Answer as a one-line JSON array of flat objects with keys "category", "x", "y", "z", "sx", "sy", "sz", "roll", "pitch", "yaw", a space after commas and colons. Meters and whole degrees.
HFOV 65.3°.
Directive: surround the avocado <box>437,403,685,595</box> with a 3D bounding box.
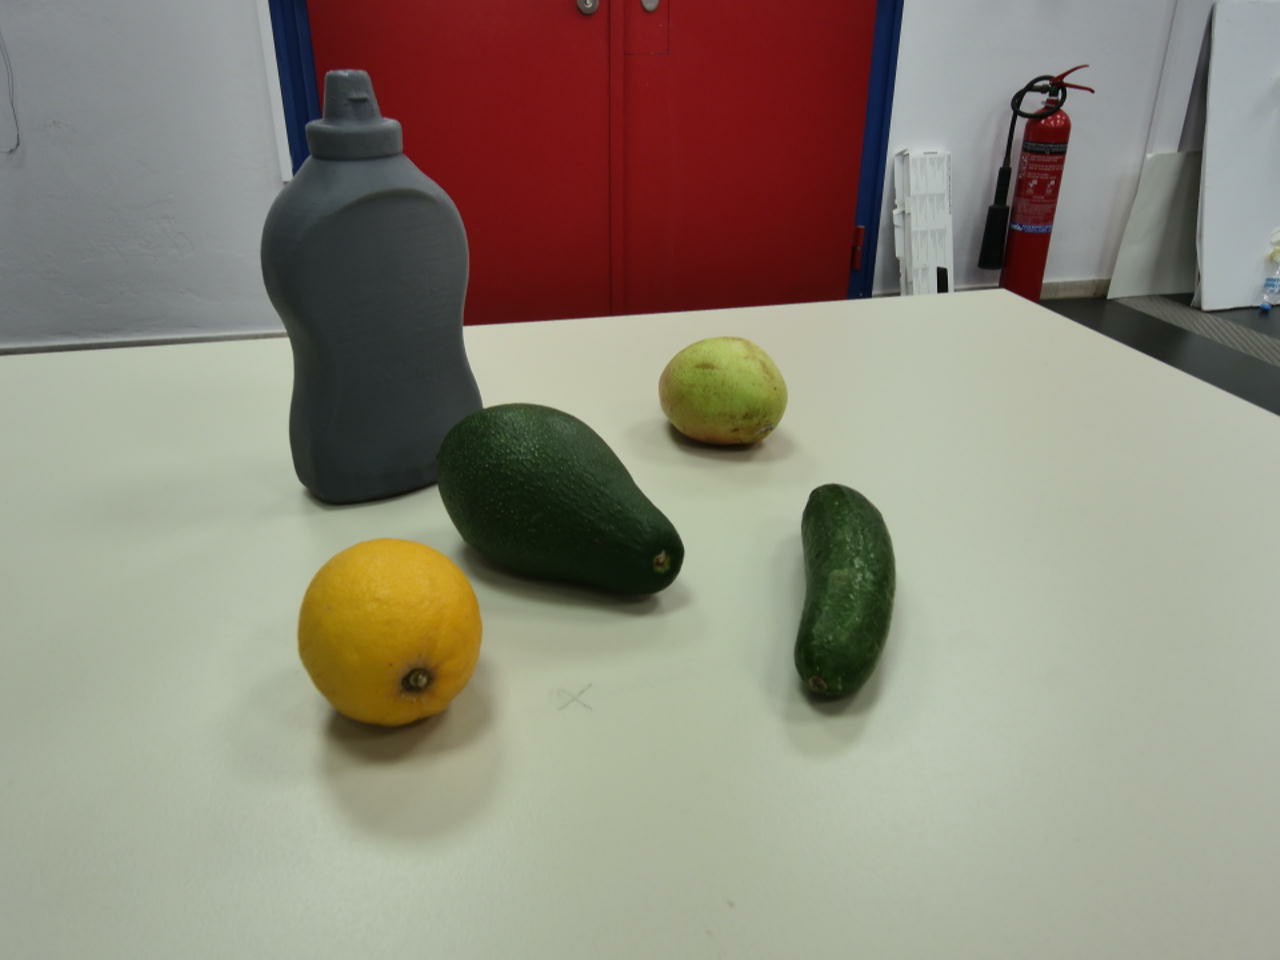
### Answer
[{"category": "avocado", "x": -0.037, "y": 0.008, "z": 0.418, "sx": 0.072, "sy": 0.071, "sz": 0.109, "roll": -17, "pitch": 29, "yaw": -33}]
